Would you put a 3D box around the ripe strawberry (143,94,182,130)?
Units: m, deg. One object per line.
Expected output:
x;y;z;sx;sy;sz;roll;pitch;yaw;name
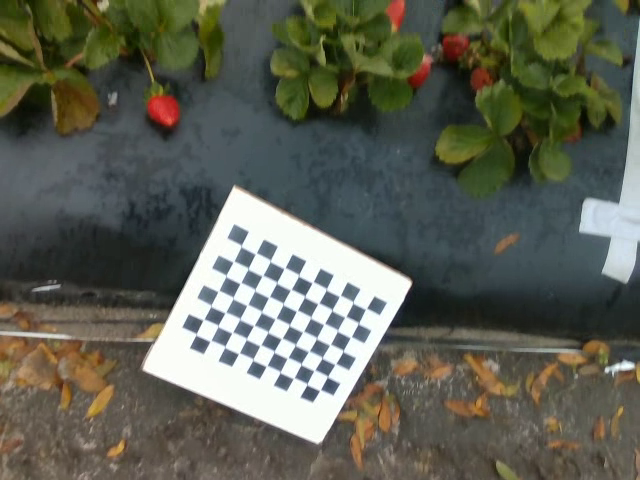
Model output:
-0.193;-0.165;1.182;0.045;0.054;0.048;-24;-25;-6;ripe strawberry
